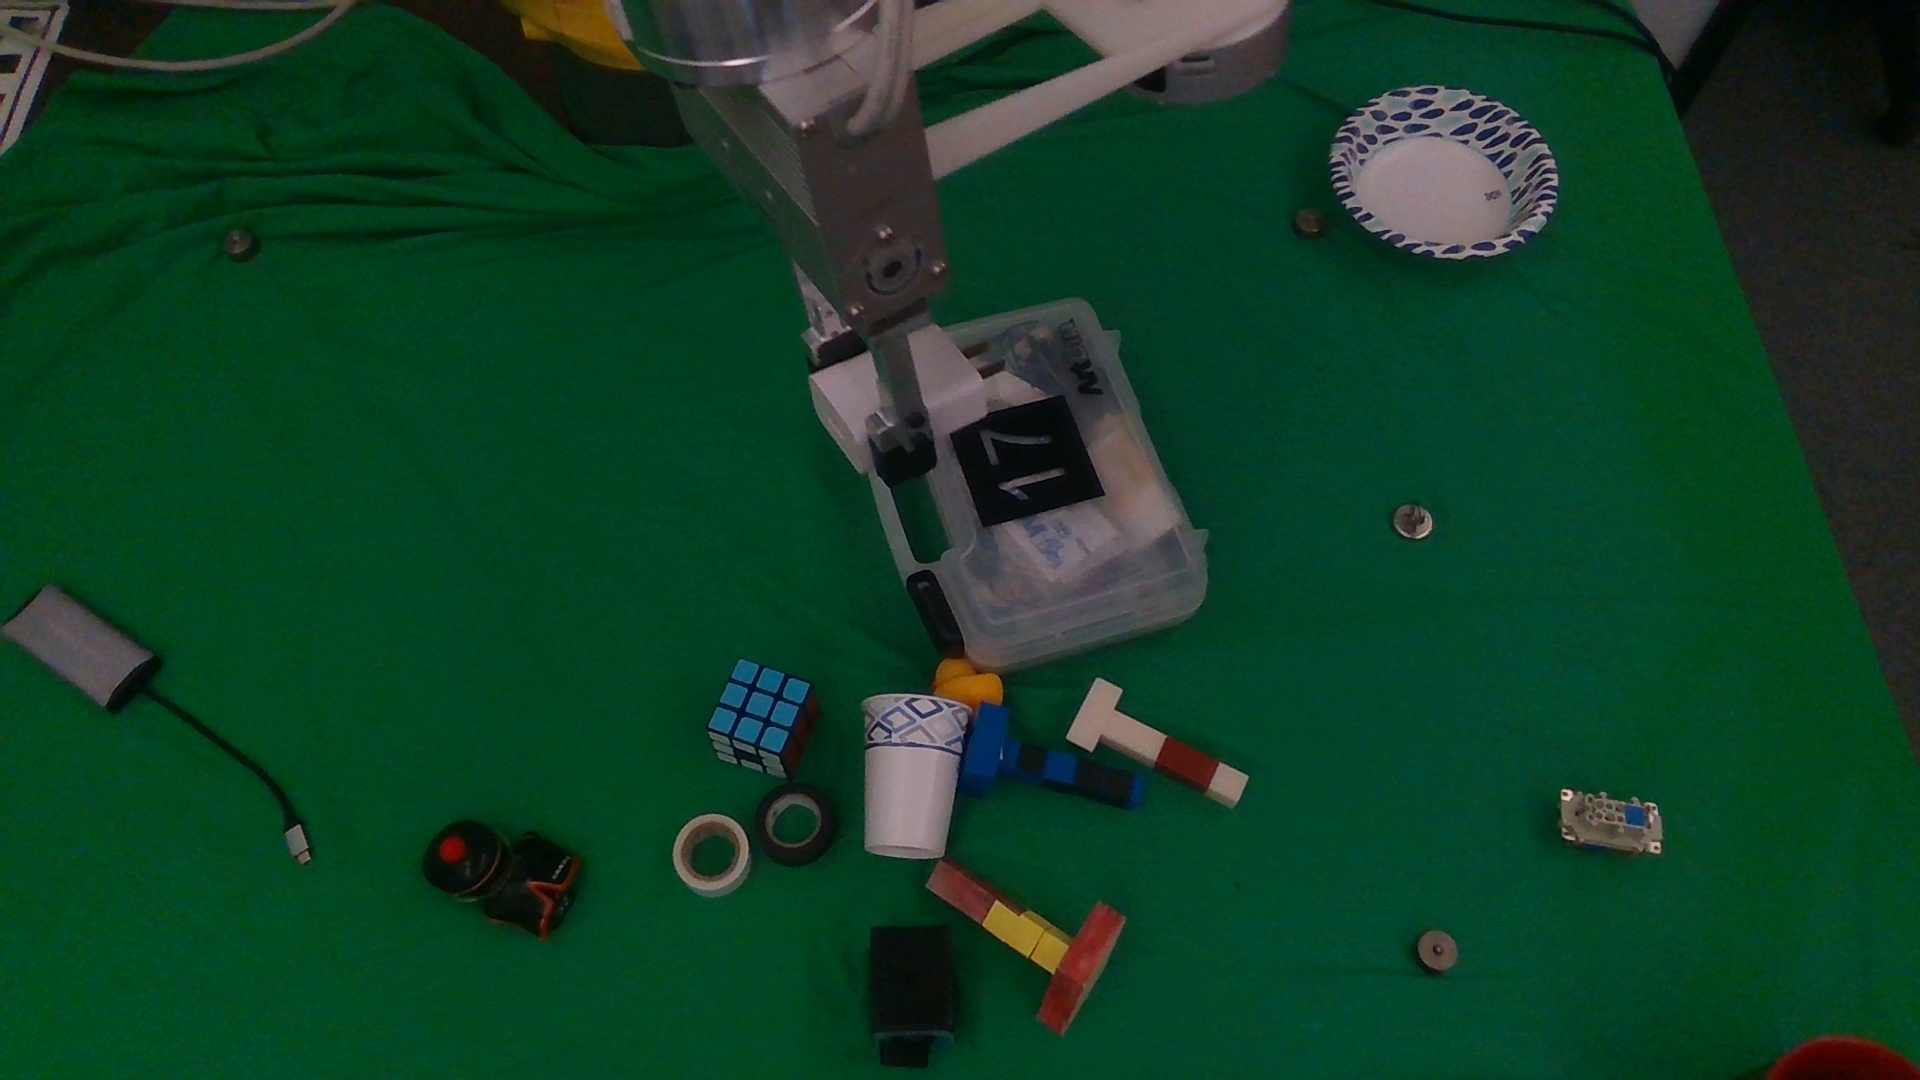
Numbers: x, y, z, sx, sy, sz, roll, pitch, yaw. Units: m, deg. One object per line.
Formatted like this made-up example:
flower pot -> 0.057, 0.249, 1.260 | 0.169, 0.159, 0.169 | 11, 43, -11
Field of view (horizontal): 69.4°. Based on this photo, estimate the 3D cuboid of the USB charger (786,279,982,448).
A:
USB charger -> -0.023, -0.070, 0.515 | 0.075, 0.029, 0.045 | -43, 48, -18

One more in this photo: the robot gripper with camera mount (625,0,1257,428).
robot gripper with camera mount -> 0.013, -0.146, 0.473 | 0.193, 0.158, 0.119 | -29, 48, -12
